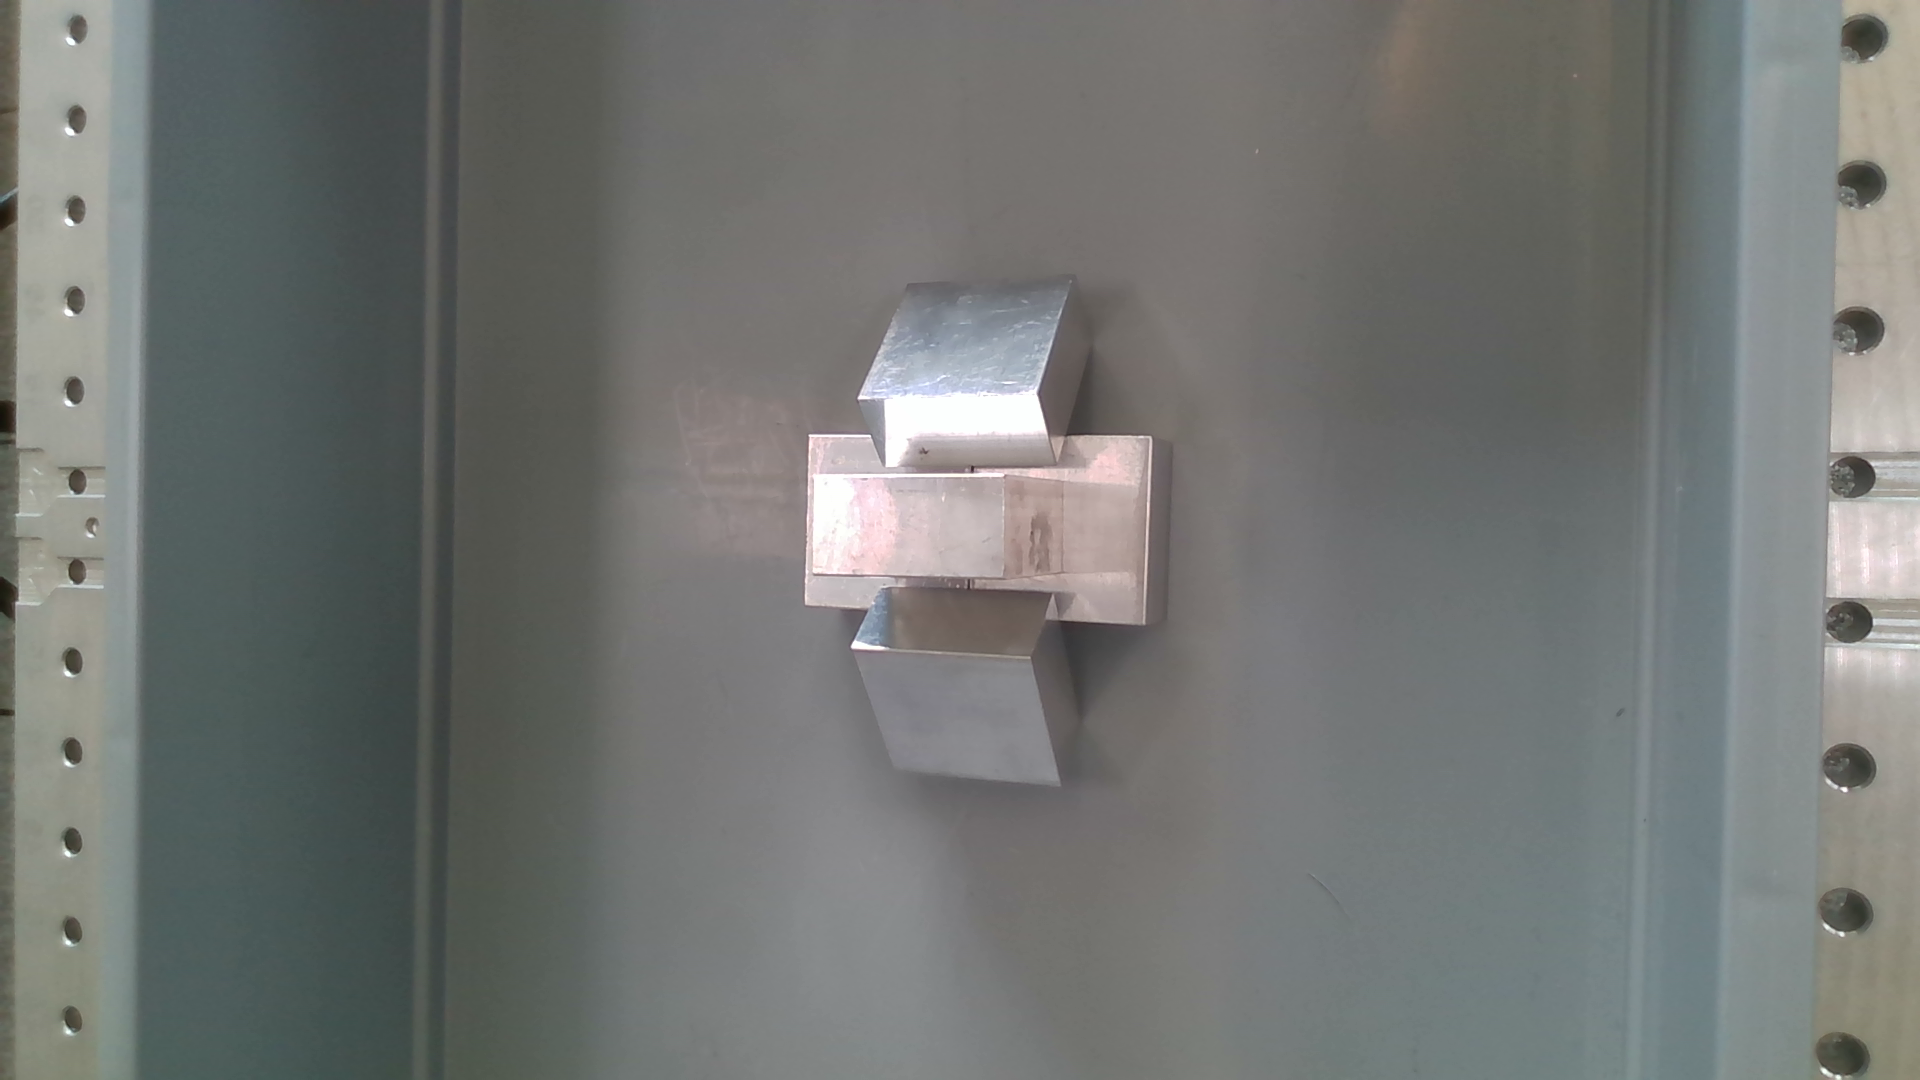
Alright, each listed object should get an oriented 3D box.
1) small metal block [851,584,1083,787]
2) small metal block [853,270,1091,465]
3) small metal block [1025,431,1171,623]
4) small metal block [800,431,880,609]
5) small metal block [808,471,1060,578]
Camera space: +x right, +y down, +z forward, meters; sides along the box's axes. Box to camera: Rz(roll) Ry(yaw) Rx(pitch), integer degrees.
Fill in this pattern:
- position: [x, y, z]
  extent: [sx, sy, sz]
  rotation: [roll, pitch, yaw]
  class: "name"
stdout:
- position: [0.003, 0.040, 0.379]
  extent: [0.050, 0.025, 0.050]
  rotation: [2, 130, 21]
  class: "small metal block"
- position: [0.005, -0.047, 0.376]
  extent: [0.050, 0.025, 0.050]
  rotation: [1, 47, 20]
  class: "small metal block"
- position: [0.030, -0.004, 0.381]
  extent: [0.050, 0.025, 0.050]
  rotation: [3, 92, 20]
  class: "small metal block"
- position: [-0.017, -0.005, 0.398]
  extent: [0.050, 0.025, 0.050]
  rotation: [3, 91, 20]
  class: "small metal block"
- position: [-0.005, -0.004, 0.354]
  extent: [0.050, 0.050, 0.025]
  rotation: [0, 91, 20]
  class: "small metal block"
